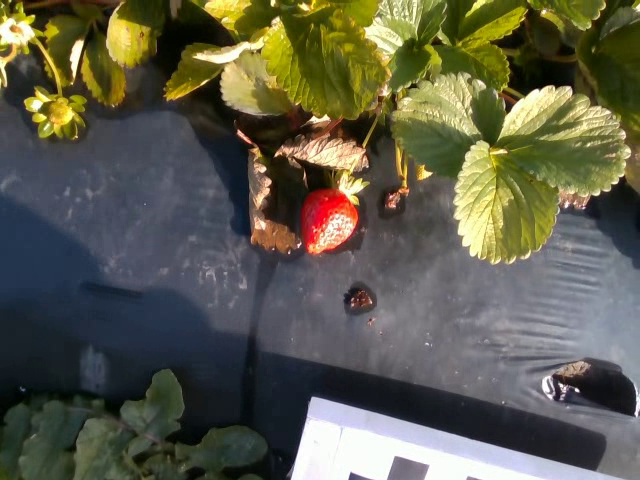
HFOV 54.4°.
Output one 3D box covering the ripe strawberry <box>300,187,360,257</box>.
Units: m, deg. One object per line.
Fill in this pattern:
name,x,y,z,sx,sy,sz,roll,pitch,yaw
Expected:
ripe strawberry,0.001,-0.003,0.348,0.047,0.054,0.037,32,-20,-8
